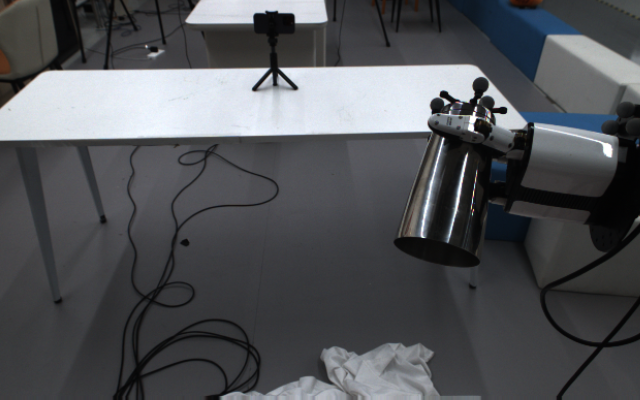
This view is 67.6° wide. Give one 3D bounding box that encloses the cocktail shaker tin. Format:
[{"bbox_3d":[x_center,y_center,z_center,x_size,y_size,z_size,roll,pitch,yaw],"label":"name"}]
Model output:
[{"bbox_3d":[0.150,-0.023,0.545,0.093,0.093,0.170,13,72,15],"label":"cocktail shaker tin"}]
